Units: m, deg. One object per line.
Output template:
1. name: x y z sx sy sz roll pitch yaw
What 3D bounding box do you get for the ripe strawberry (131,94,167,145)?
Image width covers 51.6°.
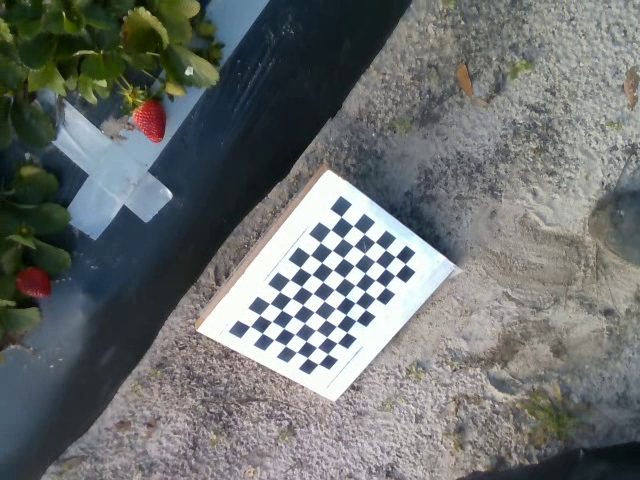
1. ripe strawberry: -0.095 -0.066 0.371 0.023 0.026 0.020 -29 -7 28

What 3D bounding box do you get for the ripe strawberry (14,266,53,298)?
1. ripe strawberry: -0.168 0.026 0.391 0.022 0.018 0.021 40 30 0
